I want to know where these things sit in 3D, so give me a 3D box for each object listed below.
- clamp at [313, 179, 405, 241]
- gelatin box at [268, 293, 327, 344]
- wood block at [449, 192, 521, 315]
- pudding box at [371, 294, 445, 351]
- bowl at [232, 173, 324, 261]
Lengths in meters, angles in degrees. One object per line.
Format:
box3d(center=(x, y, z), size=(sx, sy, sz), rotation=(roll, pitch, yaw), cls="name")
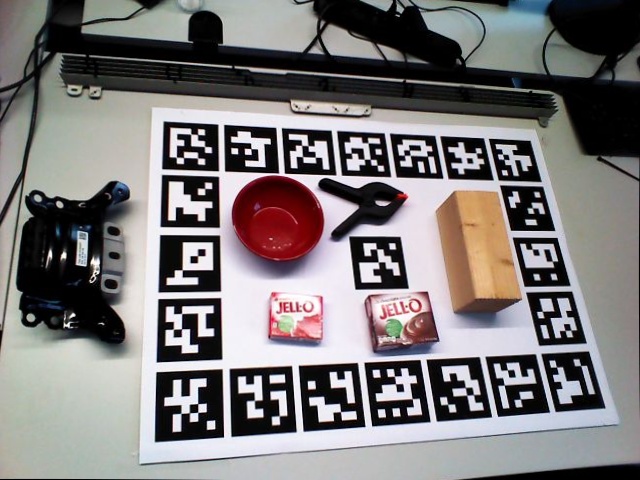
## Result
box3d(center=(0.079, -0.066, 0.956), size=(0.165, 0.037, 0.121), rotation=(-9, 71, -18), cls="clamp")
box3d(center=(-0.036, 0.127, 0.844), size=(0.089, 0.030, 0.073), rotation=(8, 68, -10), cls="gelatin box")
box3d(center=(0.298, 0.024, 0.931), size=(0.090, 0.091, 0.205), rotation=(3, 68, -13), cls="wood block")
box3d(center=(0.147, 0.140, 0.878), size=(0.114, 0.039, 0.089), rotation=(-1, 72, -11), cls="pudding box")
box3d(center=(-0.072, -0.033, 0.895), size=(0.161, 0.055, 0.161), rotation=(4, 70, -13), cls="bowl")
